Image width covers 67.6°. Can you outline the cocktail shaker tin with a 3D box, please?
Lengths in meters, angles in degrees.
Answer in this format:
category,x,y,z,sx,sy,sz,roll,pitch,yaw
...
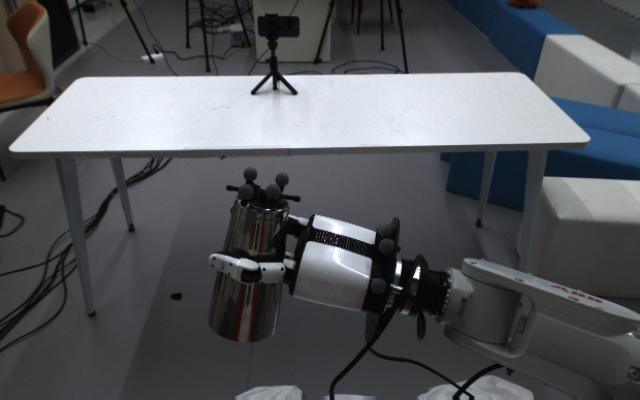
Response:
category,x,y,z,sx,sy,sz,roll,pitch,yaw
cocktail shaker tin,-0.083,0.079,0.606,0.093,0.170,0.093,11,19,-4
